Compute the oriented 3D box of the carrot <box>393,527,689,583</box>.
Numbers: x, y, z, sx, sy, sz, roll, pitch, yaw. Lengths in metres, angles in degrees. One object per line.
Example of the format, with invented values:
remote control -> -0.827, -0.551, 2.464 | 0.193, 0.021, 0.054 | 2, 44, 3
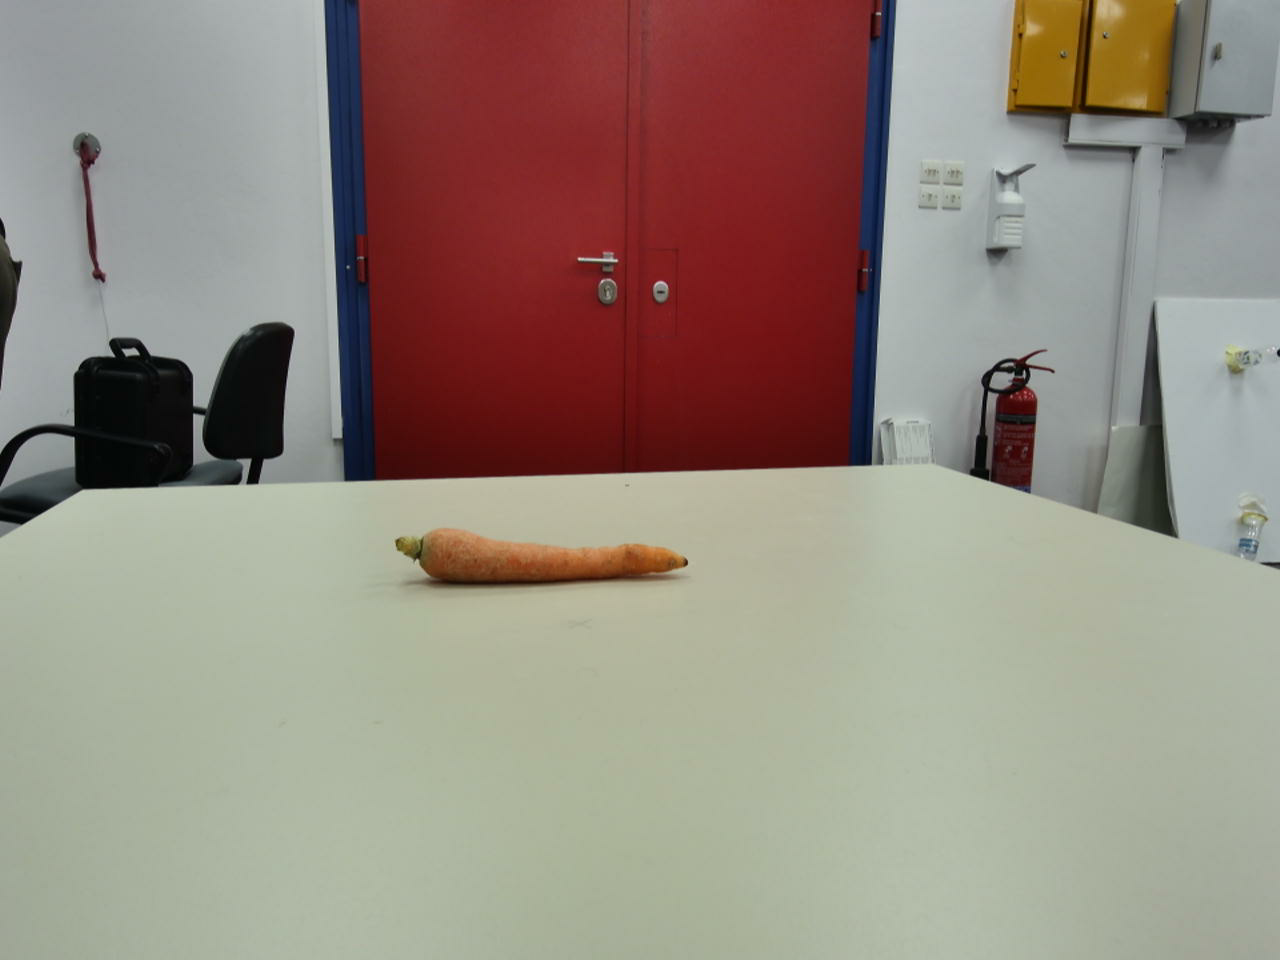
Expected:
carrot -> -0.056, 0.044, 0.587 | 0.173, 0.032, 0.030 | 0, 8, -4
